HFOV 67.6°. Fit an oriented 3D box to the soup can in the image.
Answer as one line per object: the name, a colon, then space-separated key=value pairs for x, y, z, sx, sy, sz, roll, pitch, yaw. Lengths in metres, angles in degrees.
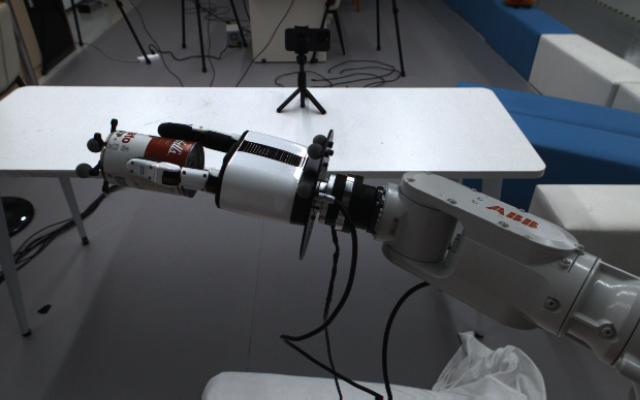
soup can: x=-0.197 y=-0.043 z=0.582 sx=0.101 sy=0.067 sz=0.067 roll=9 pitch=35 yaw=2
